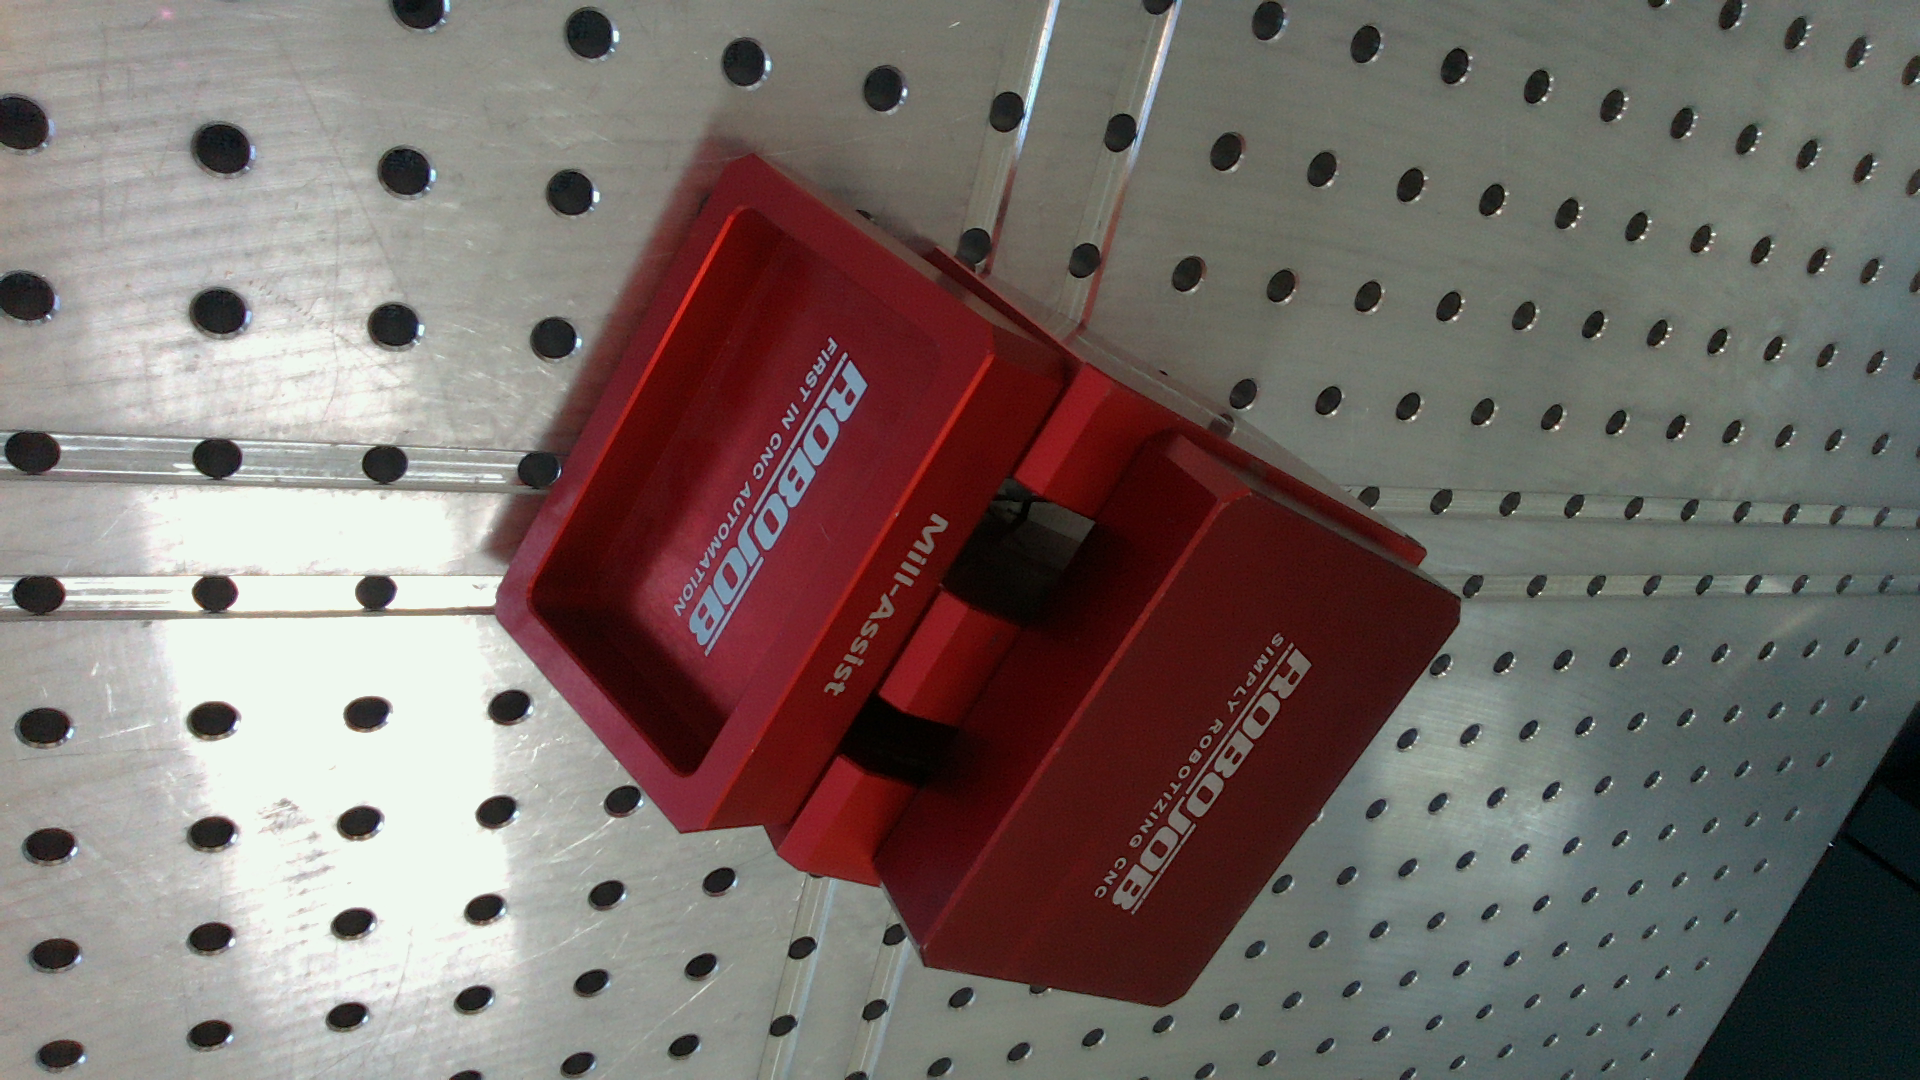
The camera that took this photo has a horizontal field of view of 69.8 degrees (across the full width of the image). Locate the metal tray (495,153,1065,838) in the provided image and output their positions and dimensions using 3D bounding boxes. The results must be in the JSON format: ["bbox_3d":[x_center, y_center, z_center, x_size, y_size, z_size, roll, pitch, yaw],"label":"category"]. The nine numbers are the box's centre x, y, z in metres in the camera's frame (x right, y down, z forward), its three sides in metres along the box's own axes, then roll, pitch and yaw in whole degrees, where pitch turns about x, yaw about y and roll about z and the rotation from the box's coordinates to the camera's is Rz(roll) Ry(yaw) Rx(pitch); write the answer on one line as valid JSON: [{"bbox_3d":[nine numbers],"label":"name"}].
[{"bbox_3d":[-0.046,-0.010,0.316,0.030,0.090,0.130,12,114,-57],"label":"metal tray"}]

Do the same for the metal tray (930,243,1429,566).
[{"bbox_3d":[0.052,-0.025,0.362,0.130,0.090,0.030,23,107,-36],"label":"metal tray"}]

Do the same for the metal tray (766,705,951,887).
[{"bbox_3d":[-0.004,0.063,0.386,0.130,0.090,0.030,23,106,-37],"label":"metal tray"}]

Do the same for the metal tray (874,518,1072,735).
[{"bbox_3d":[0.021,0.025,0.375,0.130,0.090,0.030,21,106,-37],"label":"metal tray"}]

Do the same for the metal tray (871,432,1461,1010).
[{"bbox_3d":[0.049,0.049,0.329,0.090,0.030,0.130,23,106,-36],"label":"metal tray"}]
